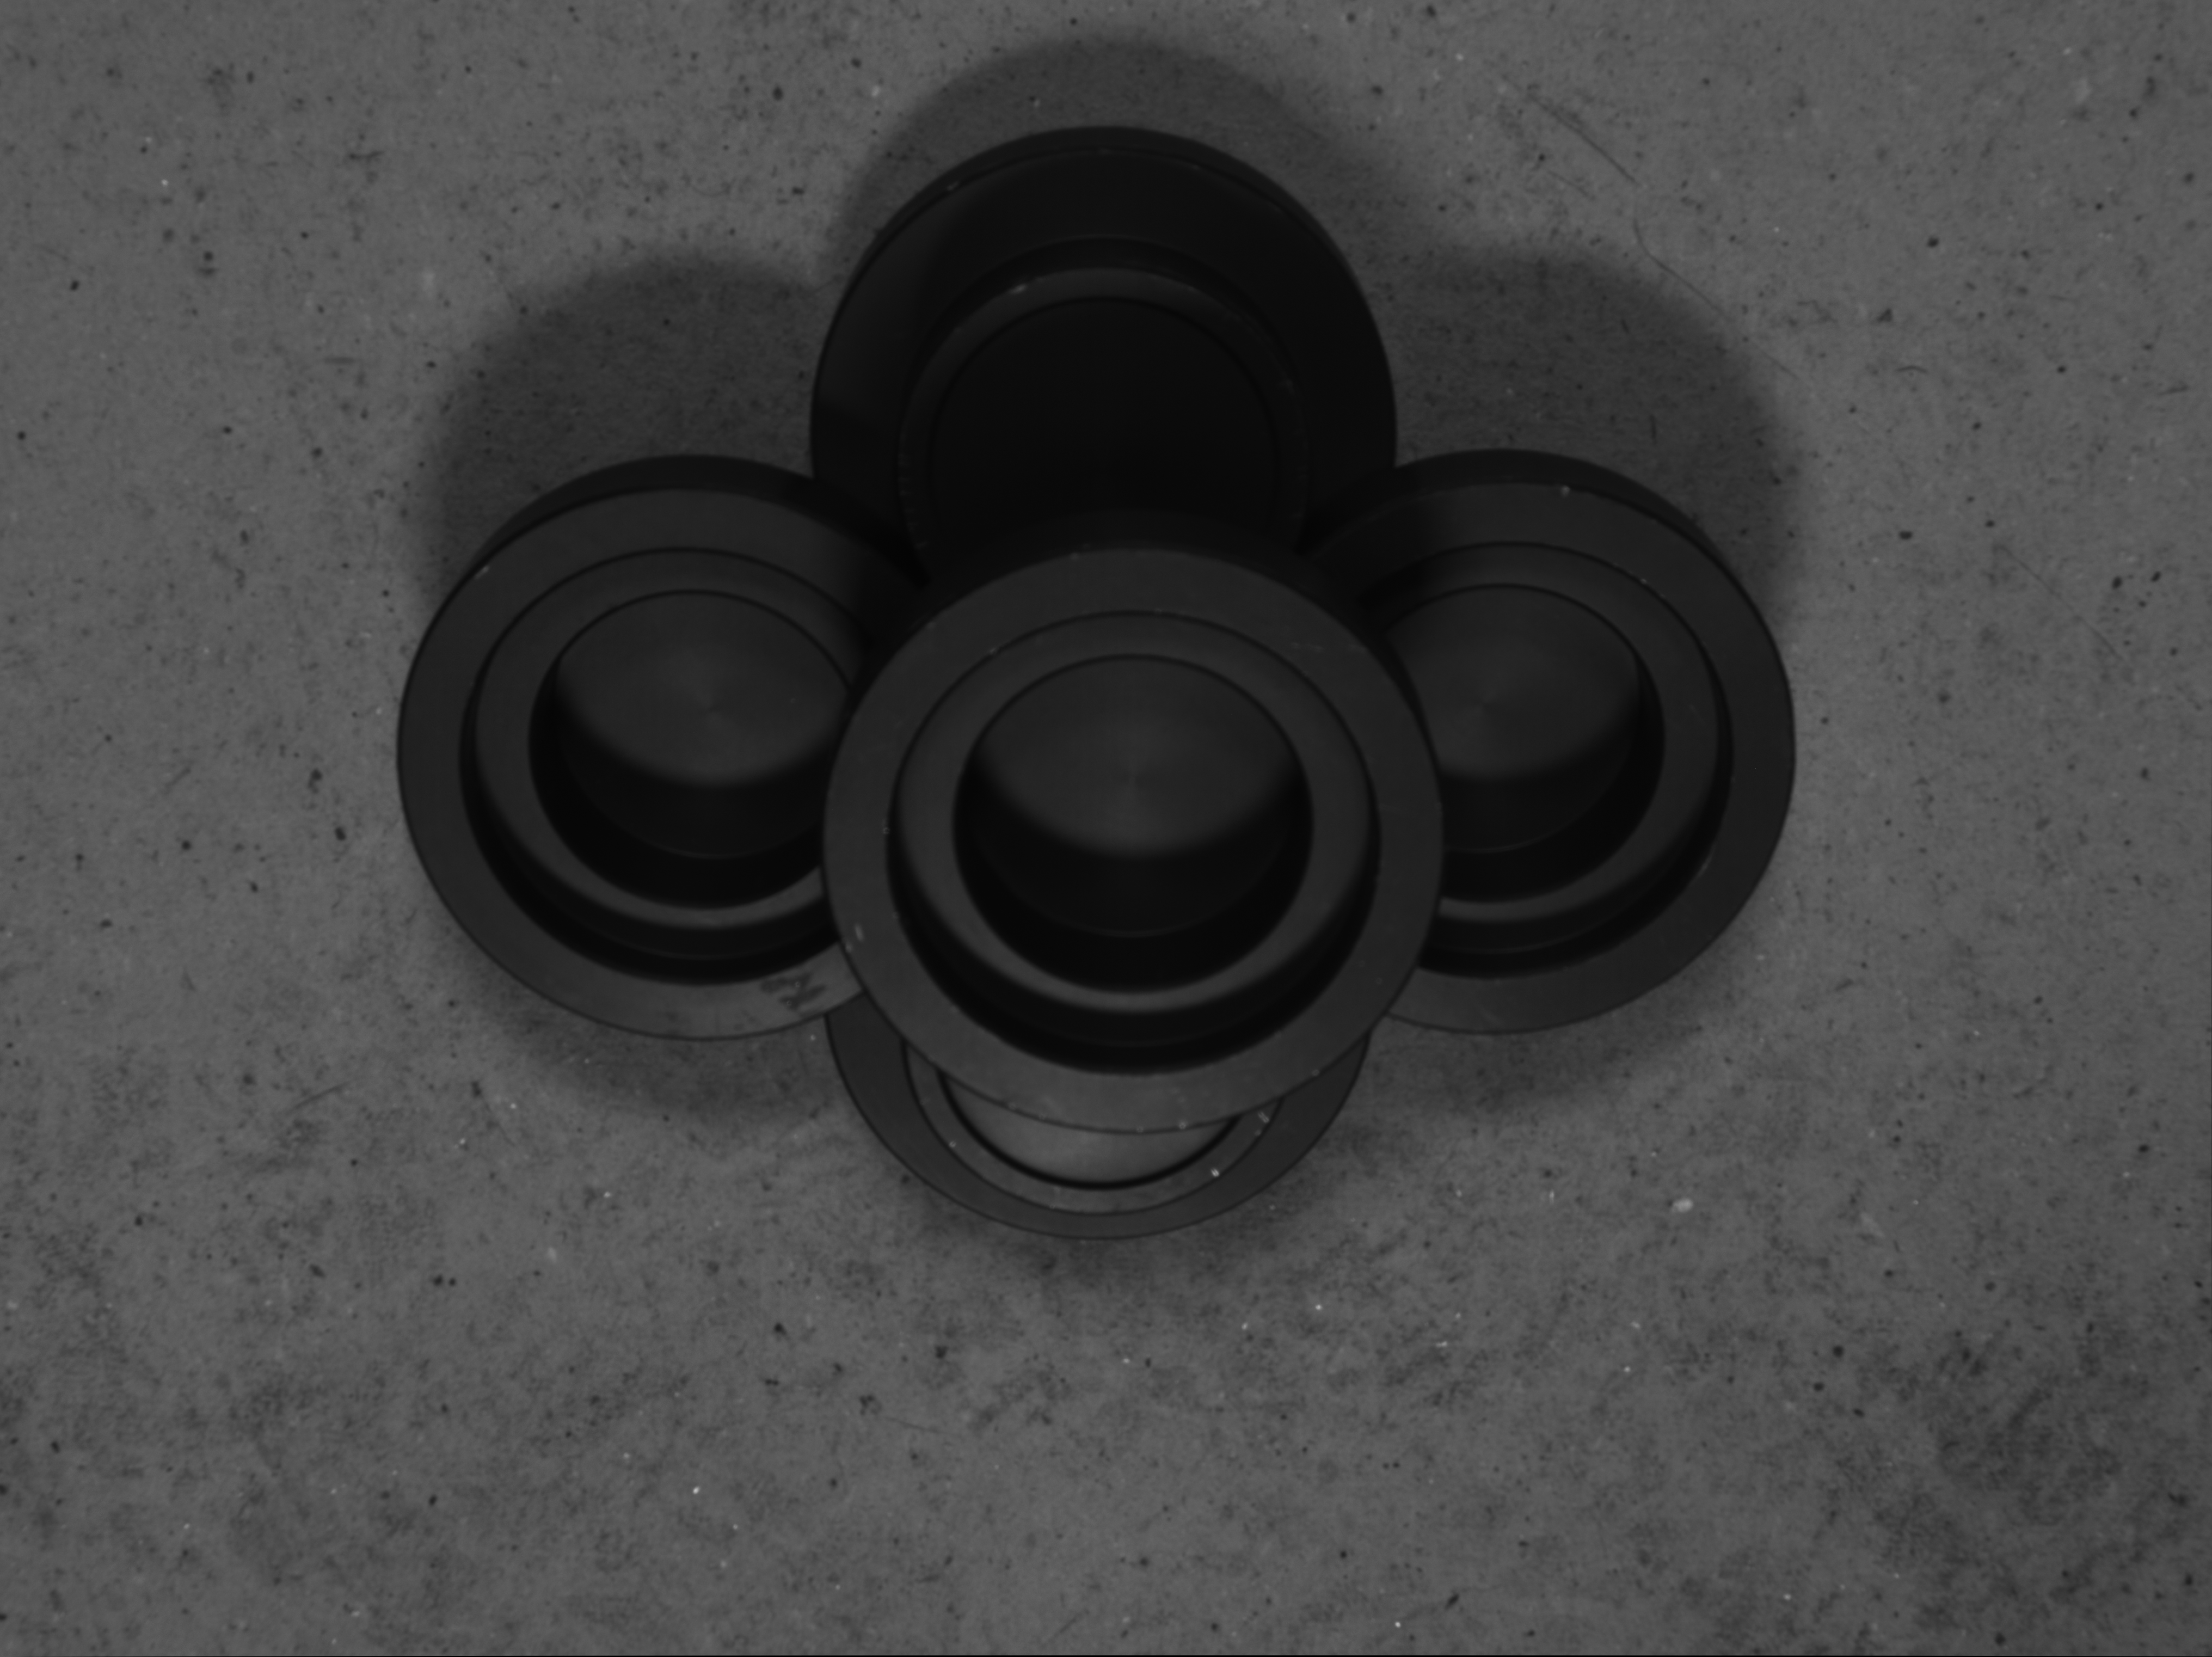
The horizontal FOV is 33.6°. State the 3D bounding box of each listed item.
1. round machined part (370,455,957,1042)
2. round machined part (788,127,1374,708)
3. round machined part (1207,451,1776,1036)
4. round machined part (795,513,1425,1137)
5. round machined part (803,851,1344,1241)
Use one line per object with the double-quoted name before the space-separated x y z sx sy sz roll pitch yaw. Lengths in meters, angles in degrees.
"round machined part" -0.073 -0.016 0.627 0.098 0.042 0.098 0 110 -1
"round machined part" -0.004 -0.065 0.610 0.098 0.042 0.098 0 110 -1
"round machined part" 0.062 -0.017 0.629 0.098 0.042 0.098 0 110 -1
"round machined part" 0.001 -0.003 0.588 0.098 0.042 0.098 0 110 -1
"round machined part" -0.005 0.029 0.644 0.098 0.042 0.098 0 110 -1
